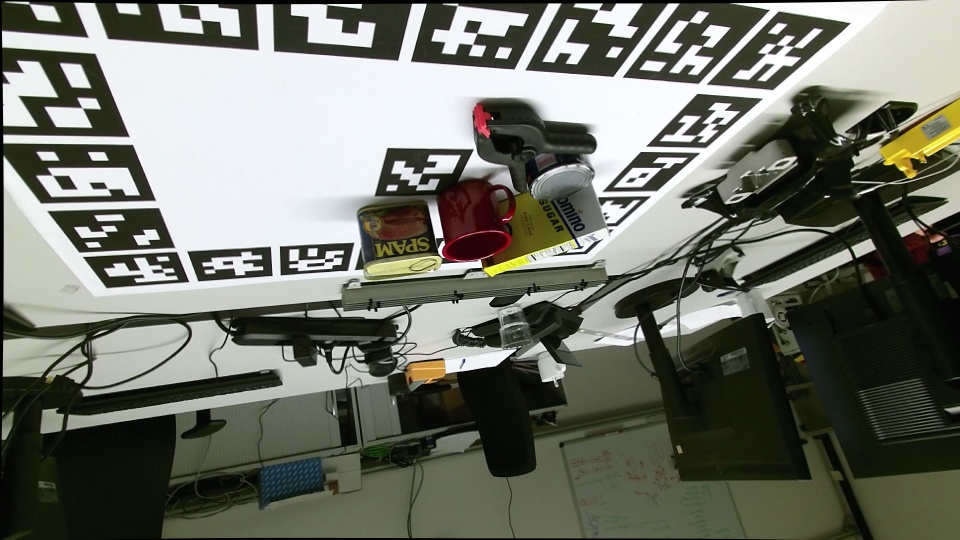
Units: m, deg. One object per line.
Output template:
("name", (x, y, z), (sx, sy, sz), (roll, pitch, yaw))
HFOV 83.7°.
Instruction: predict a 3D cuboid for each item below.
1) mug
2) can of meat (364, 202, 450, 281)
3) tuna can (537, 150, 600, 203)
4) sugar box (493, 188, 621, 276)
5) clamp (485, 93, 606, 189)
("mug", (0.012, -0.061, 0.695), (0.093, 0.081, 0.117), (10, 145, -43))
("can of meat", (-0.098, -0.038, 0.704), (0.102, 0.083, 0.058), (-7, 157, -13))
("tuna can", (0.117, -0.123, 0.678), (0.086, 0.033, 0.086), (-12, 155, -6))
("sugar box", (0.093, -0.064, 0.742), (0.177, 0.092, 0.045), (-19, 158, 14))
("clamp", (0.060, -0.147, 0.605), (0.122, 0.036, 0.166), (-23, 151, 31))
